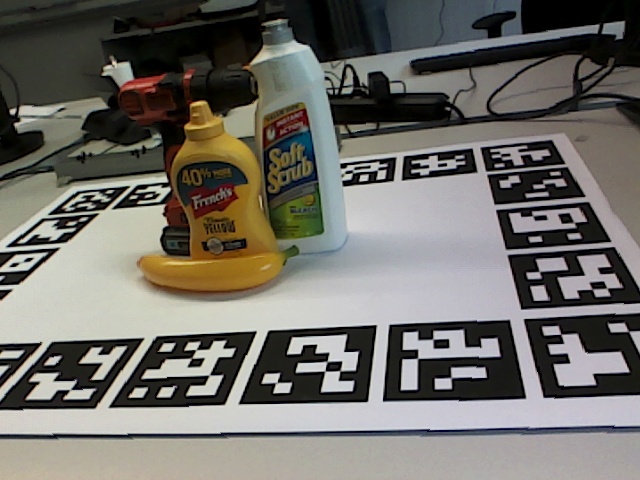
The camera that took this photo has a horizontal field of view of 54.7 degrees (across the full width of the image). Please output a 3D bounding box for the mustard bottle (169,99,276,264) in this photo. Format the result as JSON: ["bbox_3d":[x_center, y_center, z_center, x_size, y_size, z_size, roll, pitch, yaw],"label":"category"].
[{"bbox_3d":[-0.111,-0.056,0.667,0.096,0.191,0.058,-4,27,13],"label":"mustard bottle"}]

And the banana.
[{"bbox_3d":[-0.121,0.034,0.684,0.198,0.039,0.074,-4,28,18],"label":"banana"}]

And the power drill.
[{"bbox_3d":[-0.142,-0.105,0.729,0.185,0.186,0.057,3,28,23],"label":"power drill"}]

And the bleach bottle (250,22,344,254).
[{"bbox_3d":[-0.037,-0.110,0.691,0.103,0.250,0.068,-3,22,15],"label":"bleach bottle"}]
